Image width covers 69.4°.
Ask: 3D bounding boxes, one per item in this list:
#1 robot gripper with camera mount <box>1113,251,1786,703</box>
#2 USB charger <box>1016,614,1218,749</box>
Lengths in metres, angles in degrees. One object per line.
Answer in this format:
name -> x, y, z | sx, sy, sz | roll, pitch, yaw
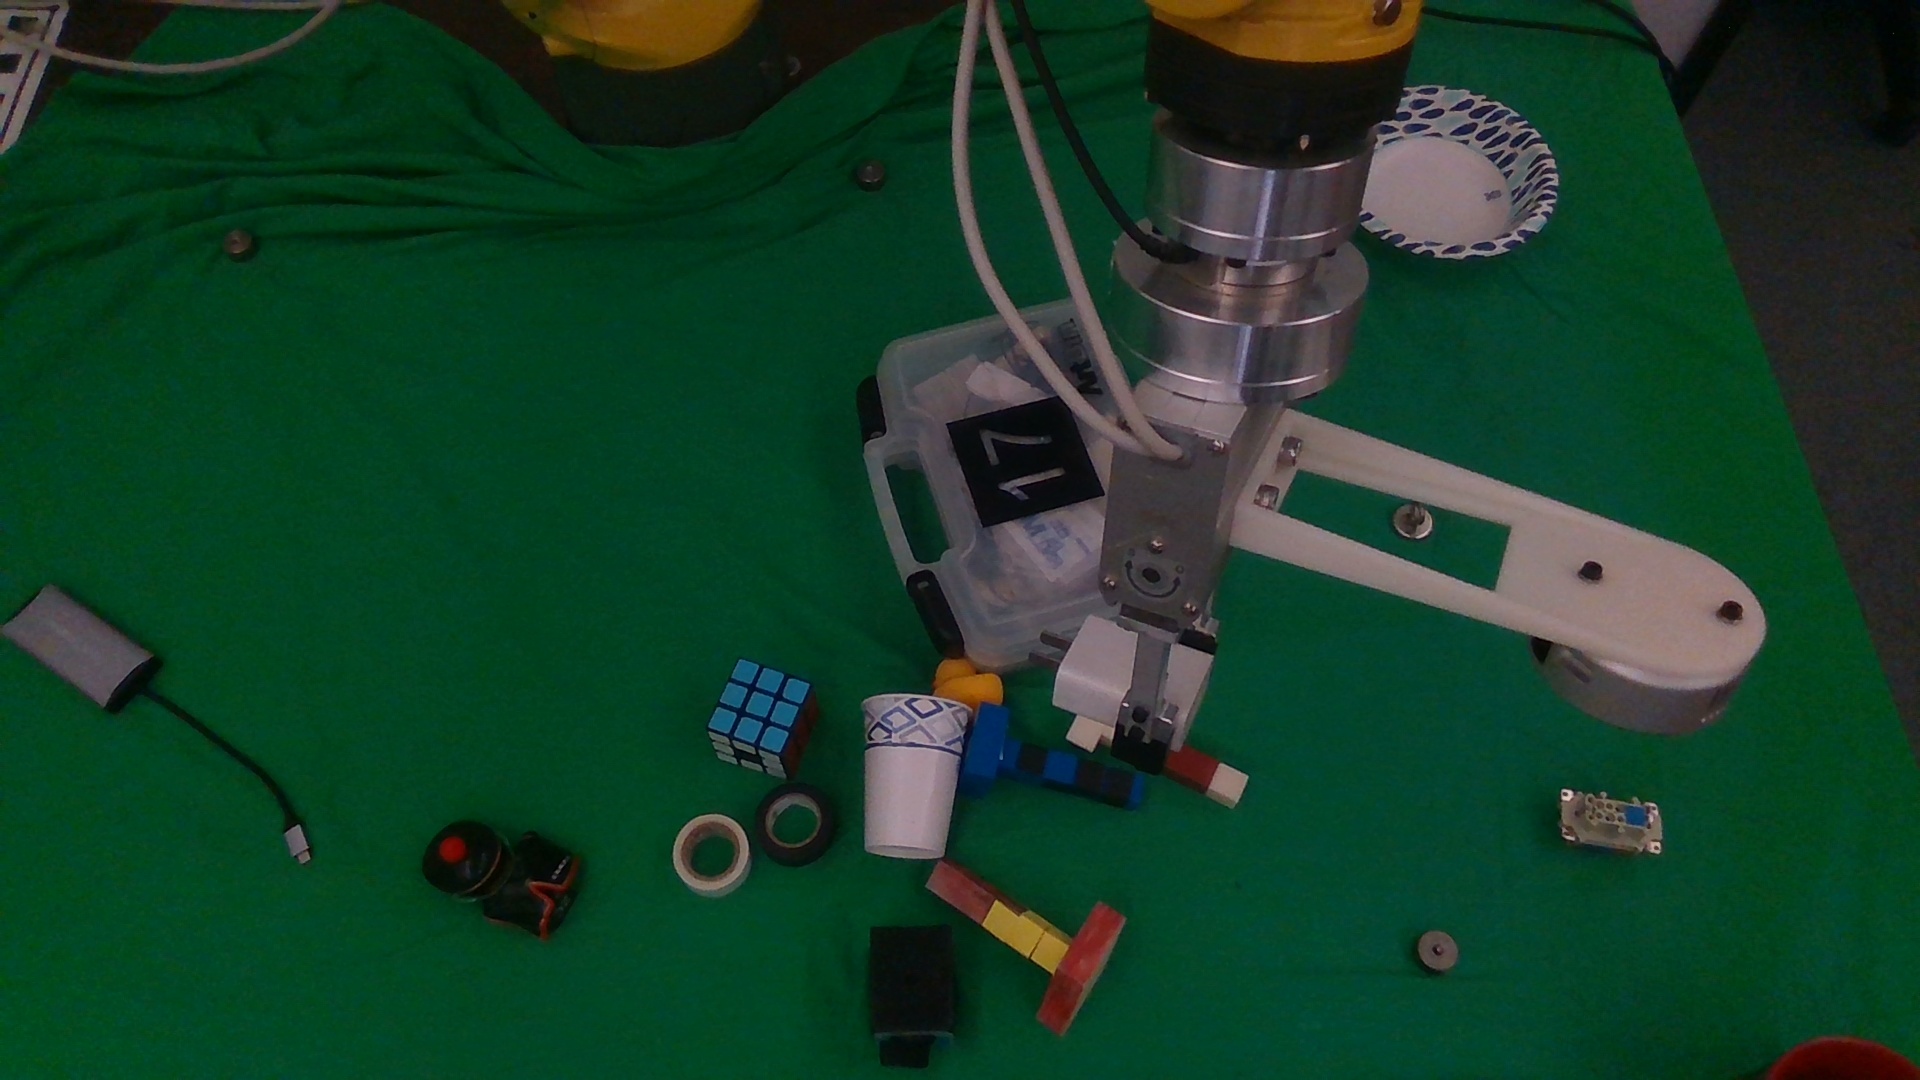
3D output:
robot gripper with camera mount -> 0.159, 0.014, 0.472 | 0.194, 0.158, 0.119 | 14, 39, 18
USB charger -> 0.060, 0.051, 0.537 | 0.076, 0.029, 0.044 | 14, 41, 17
